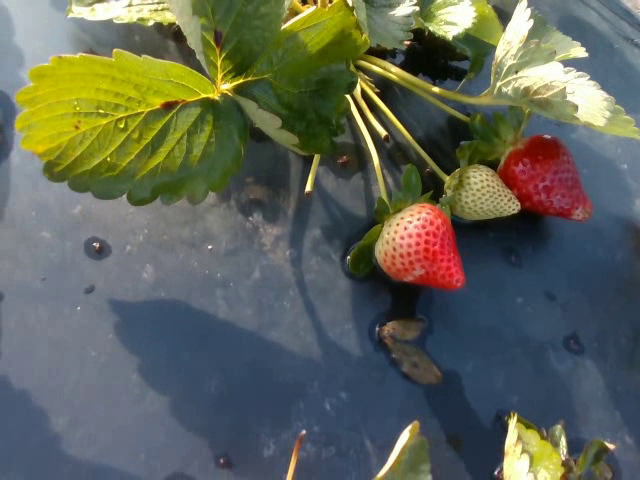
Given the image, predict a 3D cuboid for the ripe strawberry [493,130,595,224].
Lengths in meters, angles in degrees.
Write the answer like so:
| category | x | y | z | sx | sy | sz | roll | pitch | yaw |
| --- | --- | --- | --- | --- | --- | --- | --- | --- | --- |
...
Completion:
| category | x | y | z | sx | sy | sz | roll | pitch | yaw |
| --- | --- | --- | --- | --- | --- | --- | --- | --- | --- |
| ripe strawberry | 0.128 | -0.031 | 0.338 | 0.048 | 0.065 | 0.050 | -41 | 0 | 13 |
